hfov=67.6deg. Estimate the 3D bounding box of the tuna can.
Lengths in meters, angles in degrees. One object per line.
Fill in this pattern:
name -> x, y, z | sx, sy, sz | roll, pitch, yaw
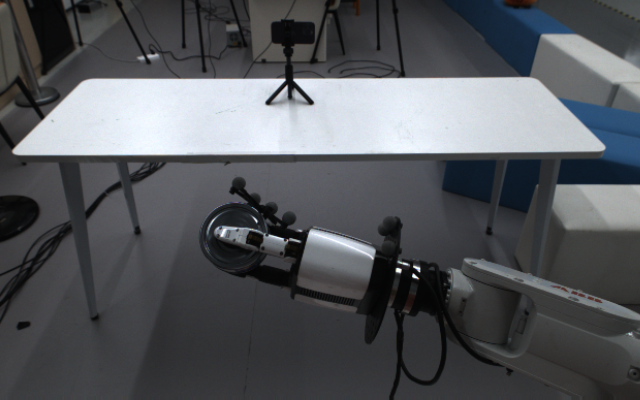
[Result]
tuna can -> -0.100, 0.054, 0.597 | 0.085, 0.034, 0.085 | 0, 73, -1
